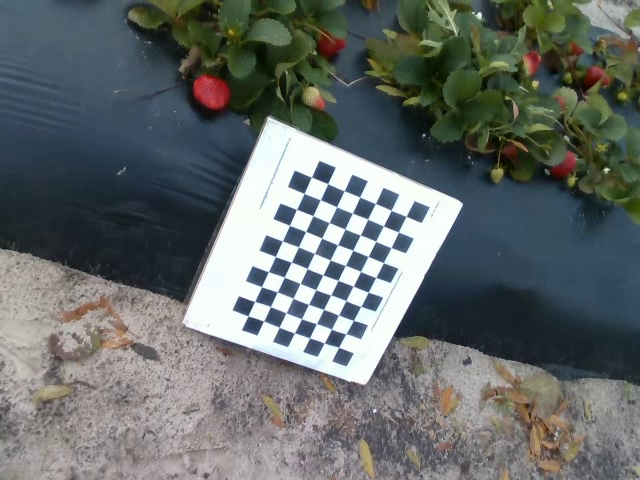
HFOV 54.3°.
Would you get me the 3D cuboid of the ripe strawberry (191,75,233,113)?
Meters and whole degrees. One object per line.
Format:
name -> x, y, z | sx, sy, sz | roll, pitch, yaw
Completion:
ripe strawberry -> -0.106, -0.142, 0.592 | 0.037, 0.046, 0.037 | -20, -30, 3
